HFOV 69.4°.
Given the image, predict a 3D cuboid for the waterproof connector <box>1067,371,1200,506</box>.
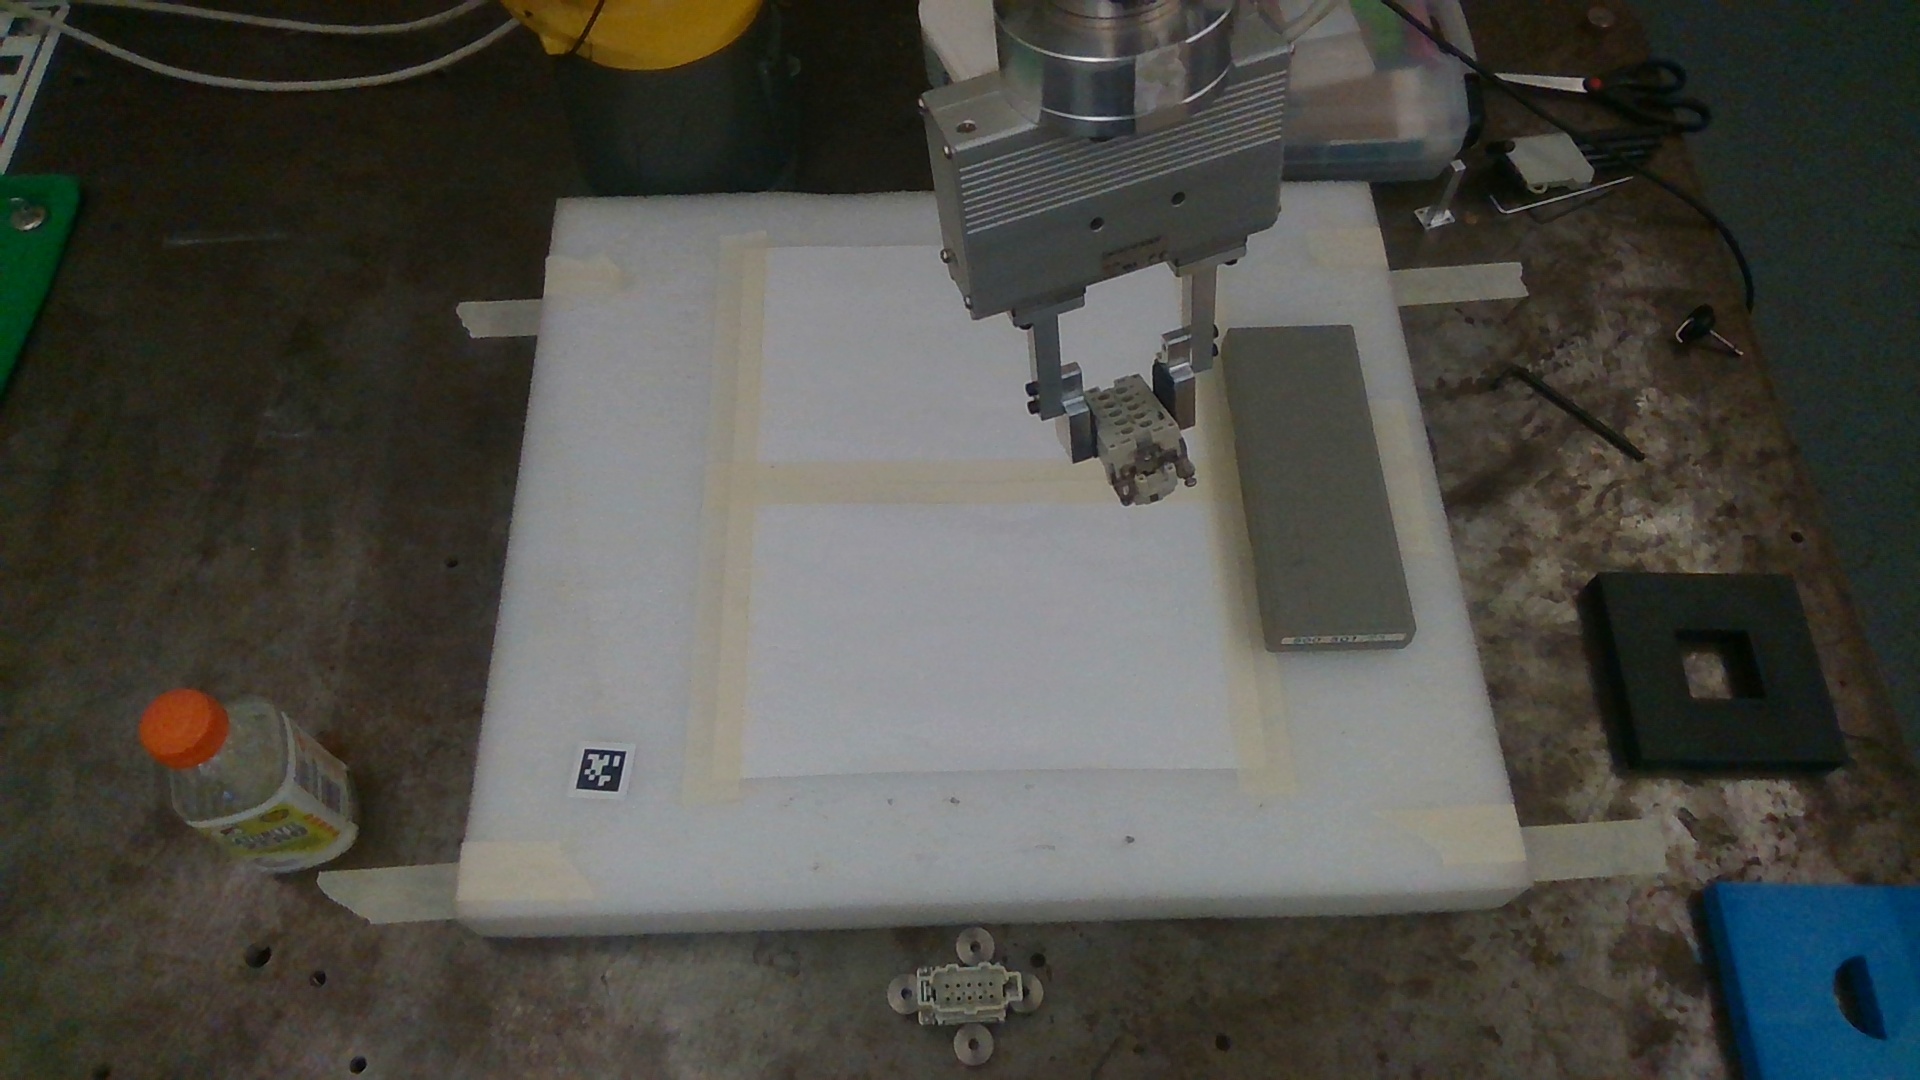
[{"bbox_3d":[0.072,-0.043,0.595,0.036,0.038,0.069,-21,36,-9],"label":"waterproof connector"}]
